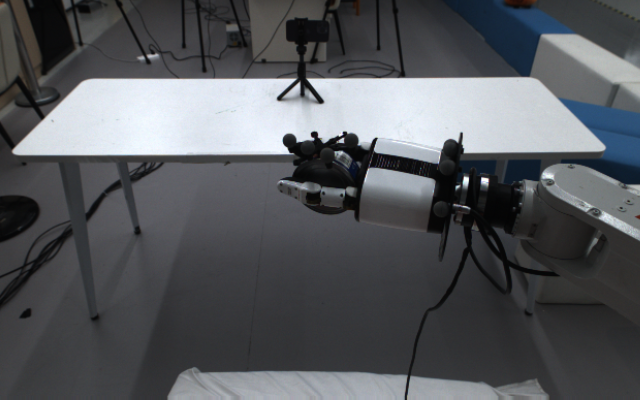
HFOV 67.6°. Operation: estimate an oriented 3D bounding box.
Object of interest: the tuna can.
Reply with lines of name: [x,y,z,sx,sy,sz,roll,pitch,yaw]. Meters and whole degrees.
tuna can: [0.011,-0.025,0.621,0.085,0.085,0.034,11,39,13]
